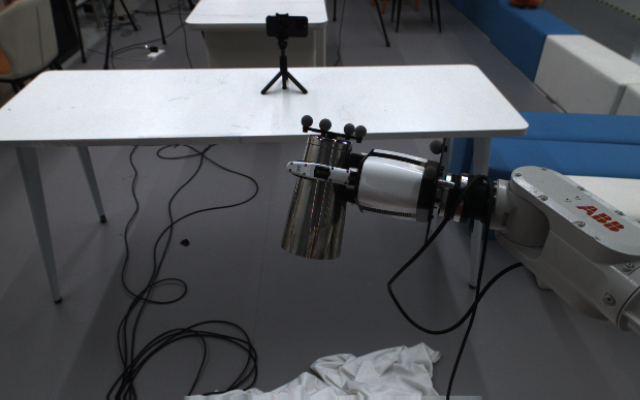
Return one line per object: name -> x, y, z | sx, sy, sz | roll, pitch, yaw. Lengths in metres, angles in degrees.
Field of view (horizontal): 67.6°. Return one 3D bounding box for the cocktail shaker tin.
cocktail shaker tin -> 0.004, -0.010, 0.721 | 0.093, 0.170, 0.093 | 10, 9, -2
